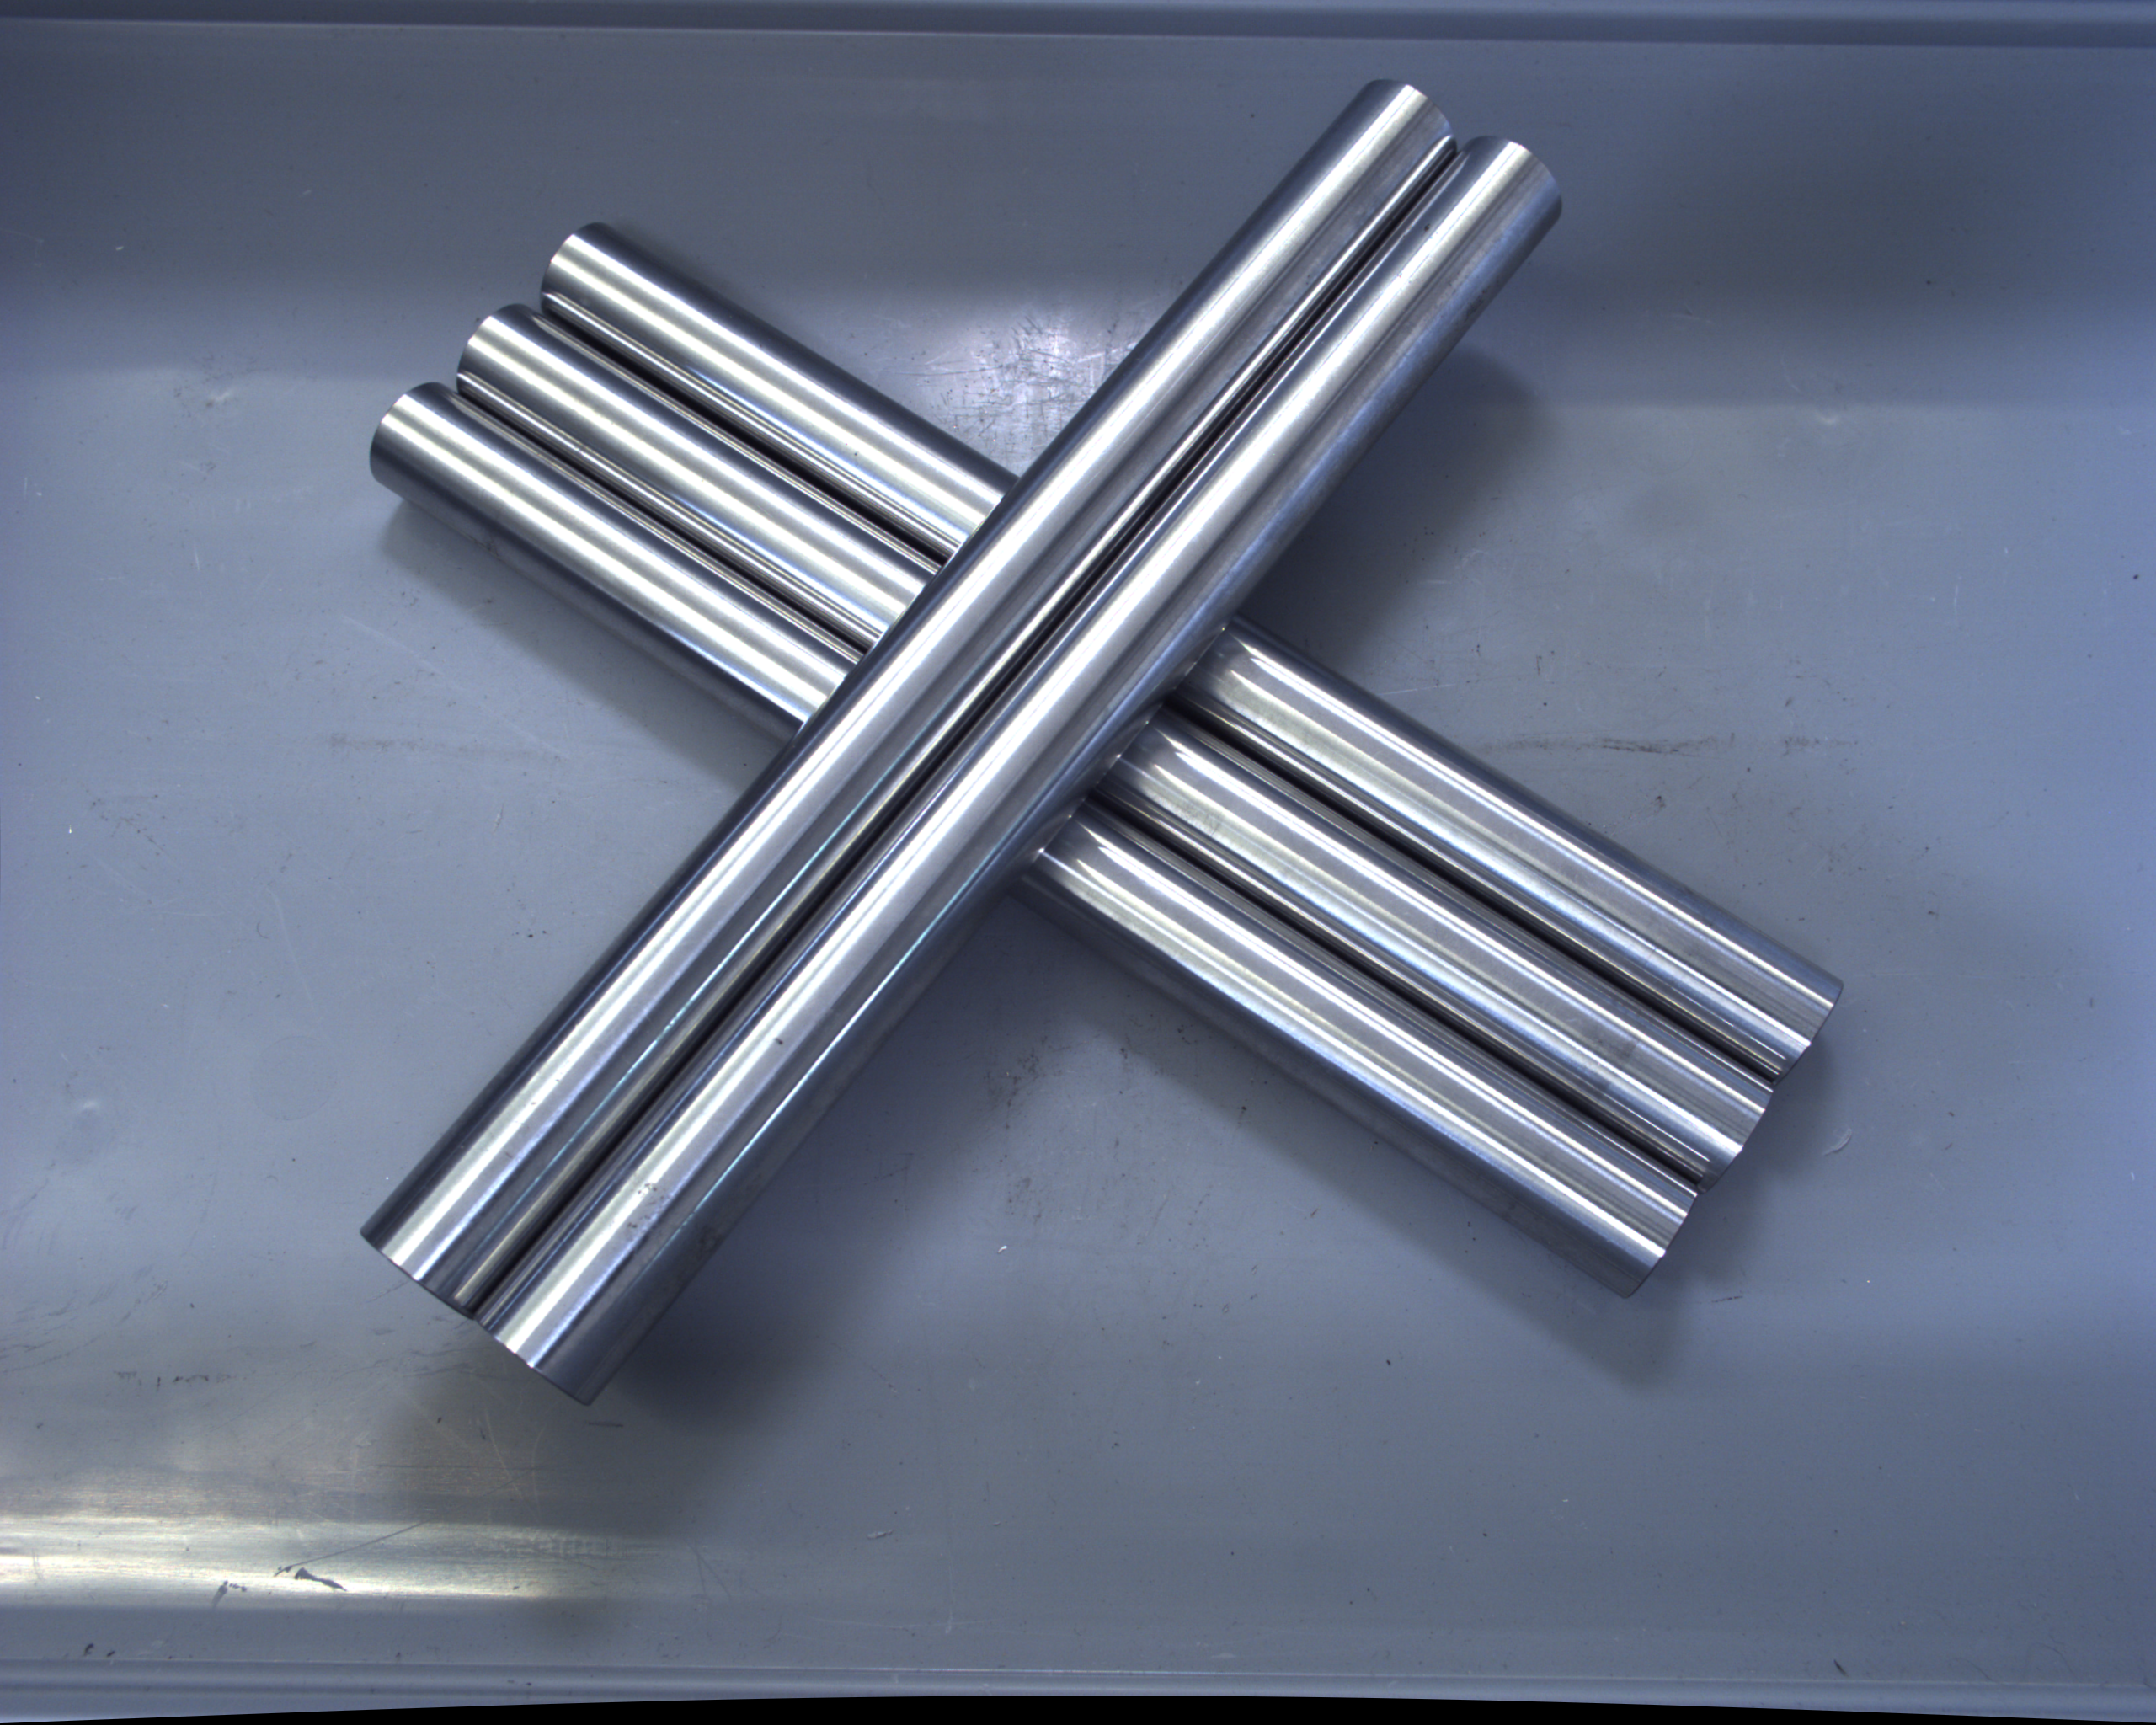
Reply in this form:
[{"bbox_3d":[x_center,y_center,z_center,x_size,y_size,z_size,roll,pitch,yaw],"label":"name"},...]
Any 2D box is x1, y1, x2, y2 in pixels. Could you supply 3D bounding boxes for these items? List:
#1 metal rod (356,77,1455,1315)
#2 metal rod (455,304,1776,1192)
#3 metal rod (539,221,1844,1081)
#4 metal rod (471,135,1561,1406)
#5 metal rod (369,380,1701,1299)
[{"bbox_3d":[-0.022,-0.042,0.397,0.025,0.025,0.300,36,74,12],"label":"metal rod"},{"bbox_3d":[-0.001,-0.028,0.418,0.301,0.025,0.025,33,73,11],"label":"metal rod"},{"bbox_3d":[0.015,-0.048,0.425,0.300,0.025,0.025,33,73,11],"label":"metal rod"},{"bbox_3d":[-0.001,-0.029,0.392,0.025,0.025,0.300,36,74,12],"label":"metal rod"},{"bbox_3d":[-0.017,-0.010,0.412,0.301,0.025,0.025,33,73,11],"label":"metal rod"}]
